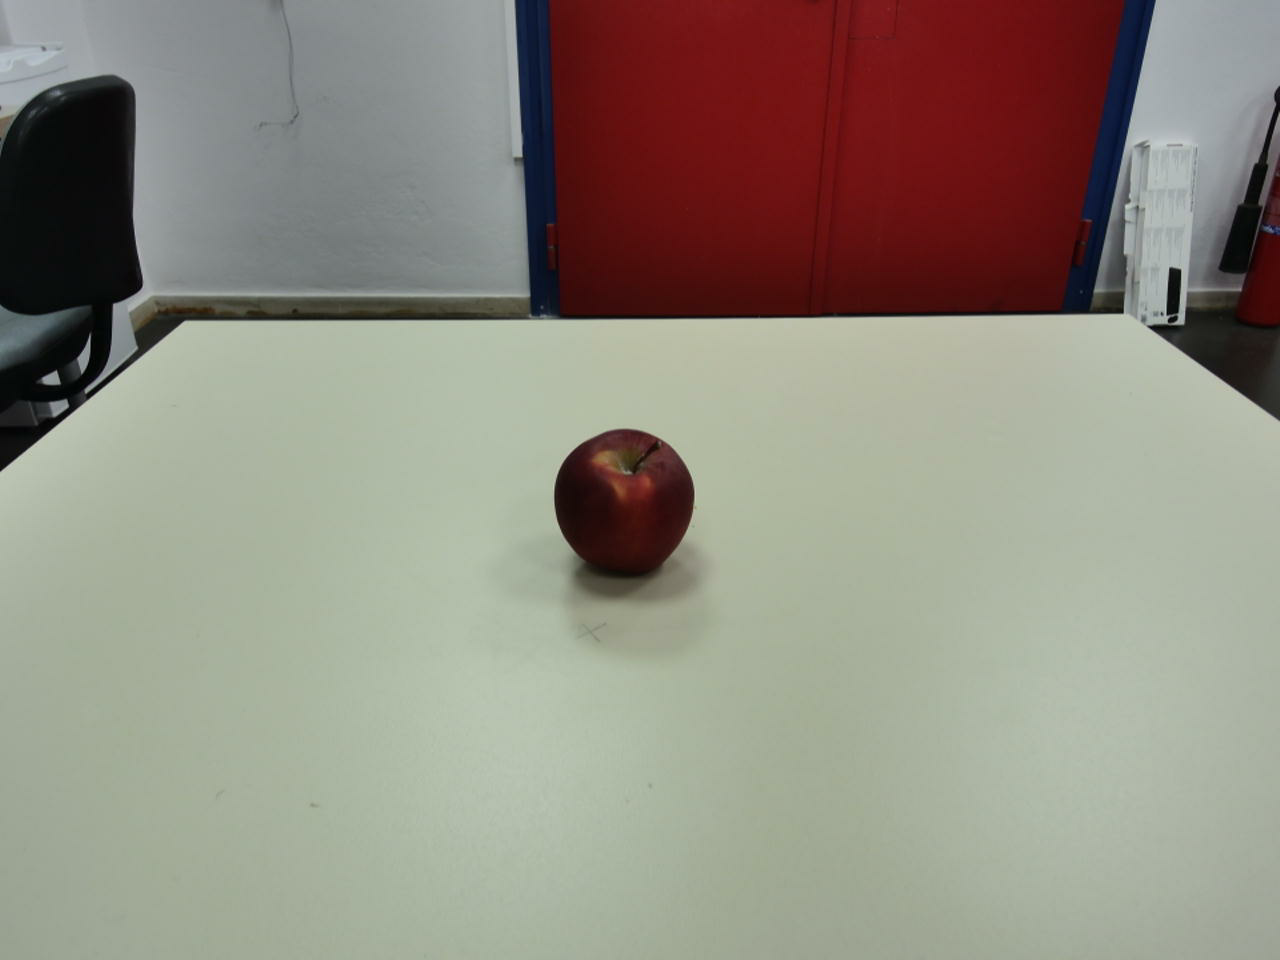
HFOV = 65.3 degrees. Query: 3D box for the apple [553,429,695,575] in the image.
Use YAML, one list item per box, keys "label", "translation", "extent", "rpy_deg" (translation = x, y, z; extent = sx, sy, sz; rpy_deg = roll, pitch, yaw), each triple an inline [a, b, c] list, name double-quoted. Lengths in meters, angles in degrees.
- label: "apple"
  translation: [-0.008, 0.011, 0.492]
  extent: [0.070, 0.072, 0.070]
  rpy_deg: [1, 26, 0]
